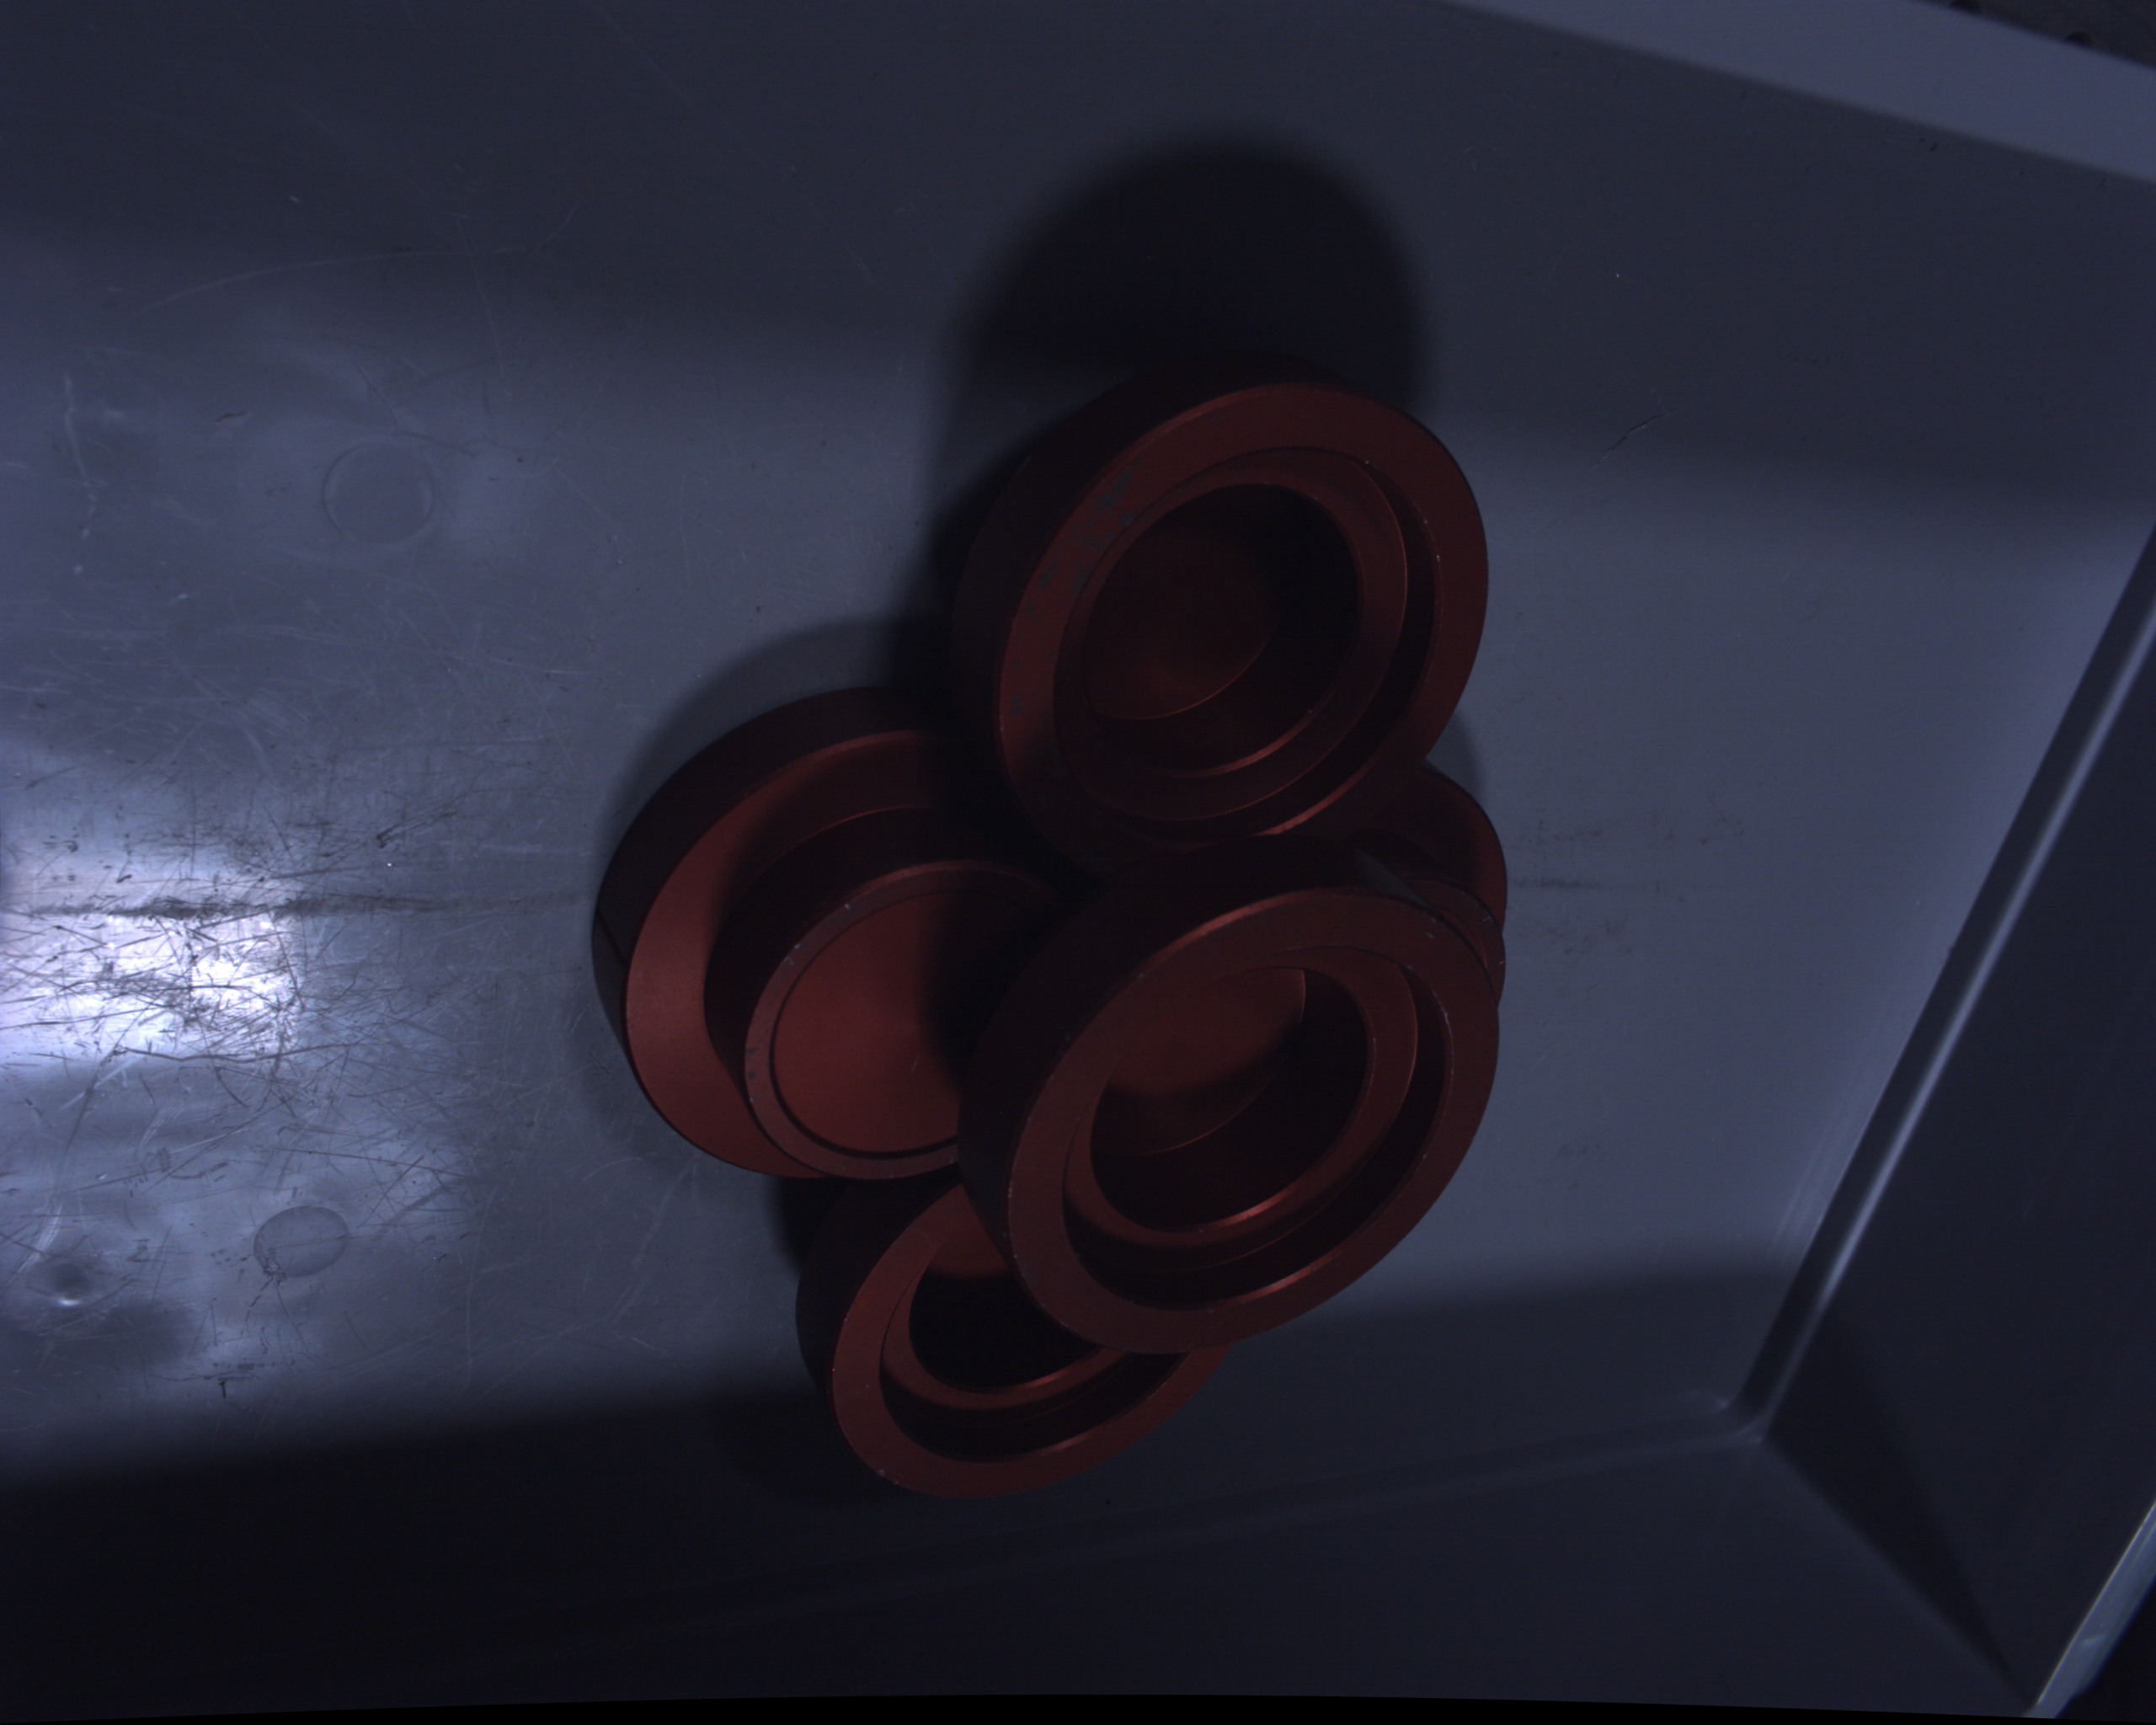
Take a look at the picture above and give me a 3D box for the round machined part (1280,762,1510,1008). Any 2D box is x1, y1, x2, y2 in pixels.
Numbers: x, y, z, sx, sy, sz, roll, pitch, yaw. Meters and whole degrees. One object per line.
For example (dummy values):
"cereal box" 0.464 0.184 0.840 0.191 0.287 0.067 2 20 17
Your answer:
"round machined part" 0.050 0.023 0.438 0.099 0.042 0.097 -14 125 -21

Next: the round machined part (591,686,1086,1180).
"round machined part" -0.037 0.020 0.389 0.099 0.042 0.097 -14 125 -21

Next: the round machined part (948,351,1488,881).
"round machined part" 0.022 -0.046 0.380 0.099 0.042 0.097 -14 125 -21

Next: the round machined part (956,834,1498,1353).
"round machined part" 0.023 0.037 0.378 0.099 0.042 0.097 -14 125 -21

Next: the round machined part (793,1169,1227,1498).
"round machined part" -0.013 0.083 0.441 0.099 0.042 0.097 -14 125 -21
